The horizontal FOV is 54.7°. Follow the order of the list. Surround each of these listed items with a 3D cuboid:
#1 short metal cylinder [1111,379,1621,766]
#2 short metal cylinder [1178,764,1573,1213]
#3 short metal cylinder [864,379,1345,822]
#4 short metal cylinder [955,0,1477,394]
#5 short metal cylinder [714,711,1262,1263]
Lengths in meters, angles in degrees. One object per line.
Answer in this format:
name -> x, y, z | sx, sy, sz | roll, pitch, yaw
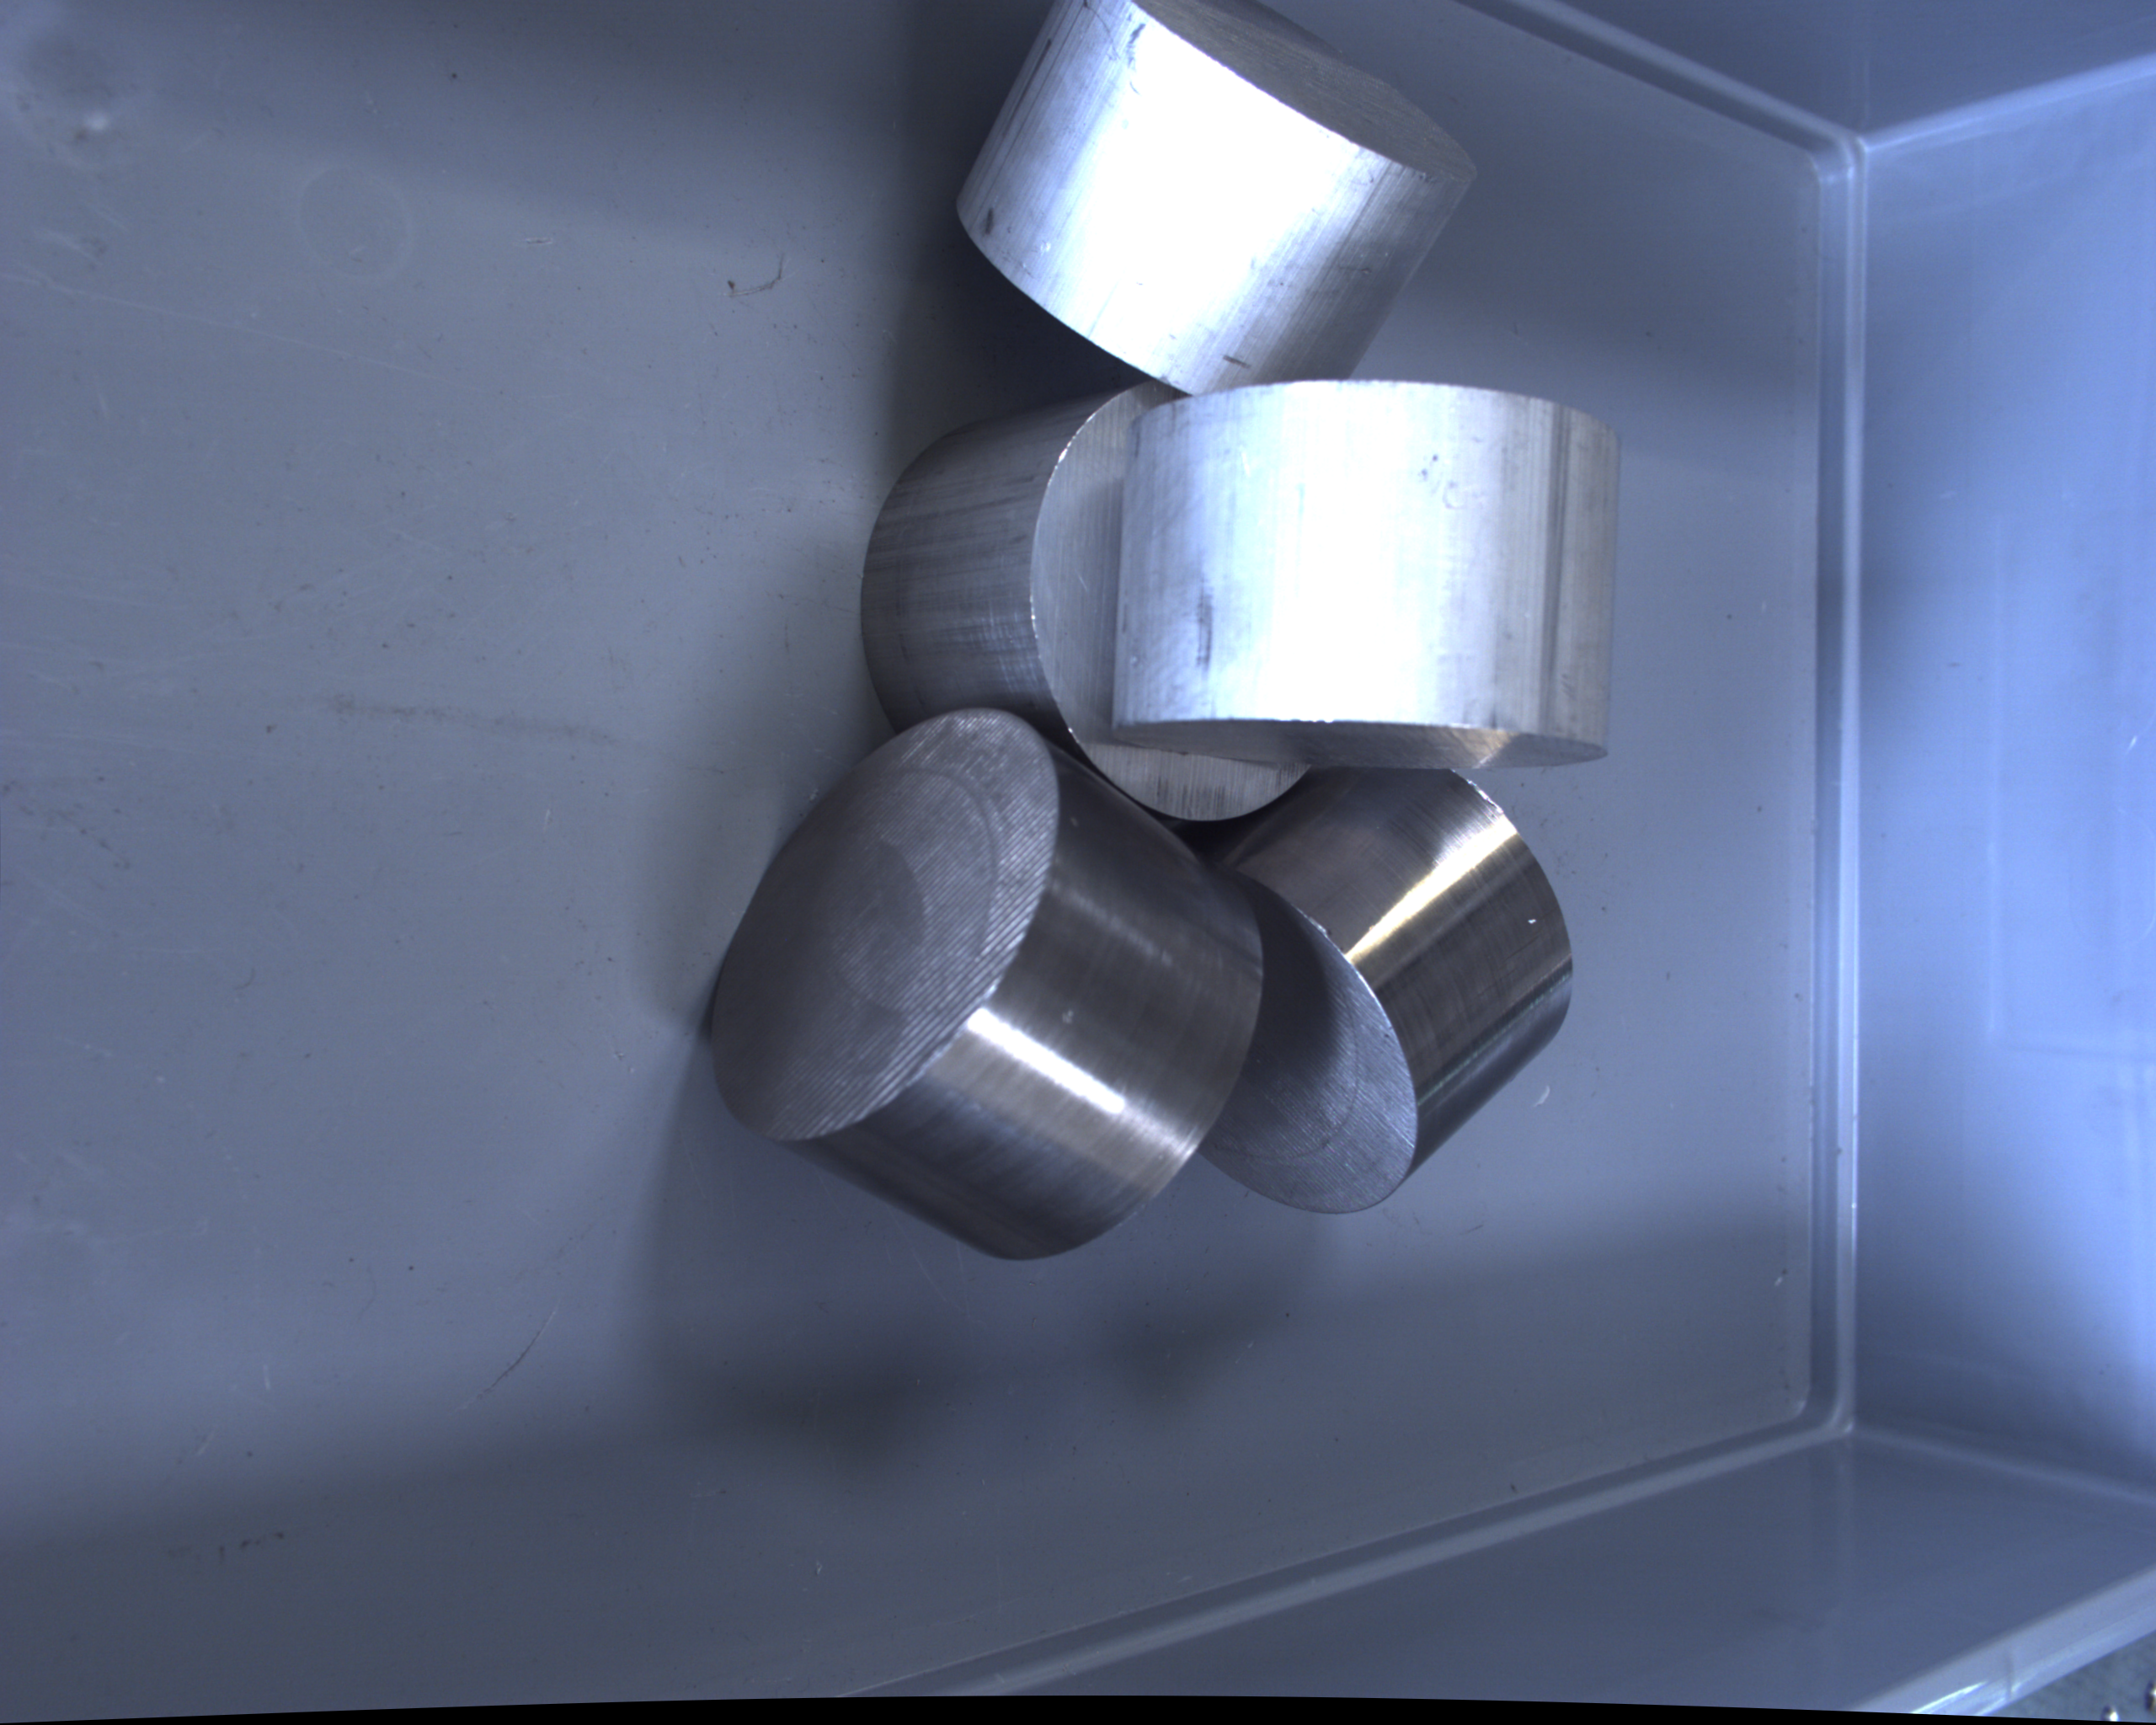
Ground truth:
short metal cylinder -> 0.047, -0.044, 0.342 | 0.081, 0.080, 0.050 | 4, 88, -40
short metal cylinder -> 0.049, 0.021, 0.409 | 0.050, 0.080, 0.080 | -35, 112, -34
short metal cylinder -> 0.007, -0.047, 0.393 | 0.081, 0.050, 0.080 | 0, 90, -40
short metal cylinder -> 0.025, -0.124, 0.381 | 0.081, 0.080, 0.050 | 5, 130, -40
short metal cylinder -> -0.016, 0.021, 0.355 | 0.050, 0.080, 0.080 | 36, 68, -34
